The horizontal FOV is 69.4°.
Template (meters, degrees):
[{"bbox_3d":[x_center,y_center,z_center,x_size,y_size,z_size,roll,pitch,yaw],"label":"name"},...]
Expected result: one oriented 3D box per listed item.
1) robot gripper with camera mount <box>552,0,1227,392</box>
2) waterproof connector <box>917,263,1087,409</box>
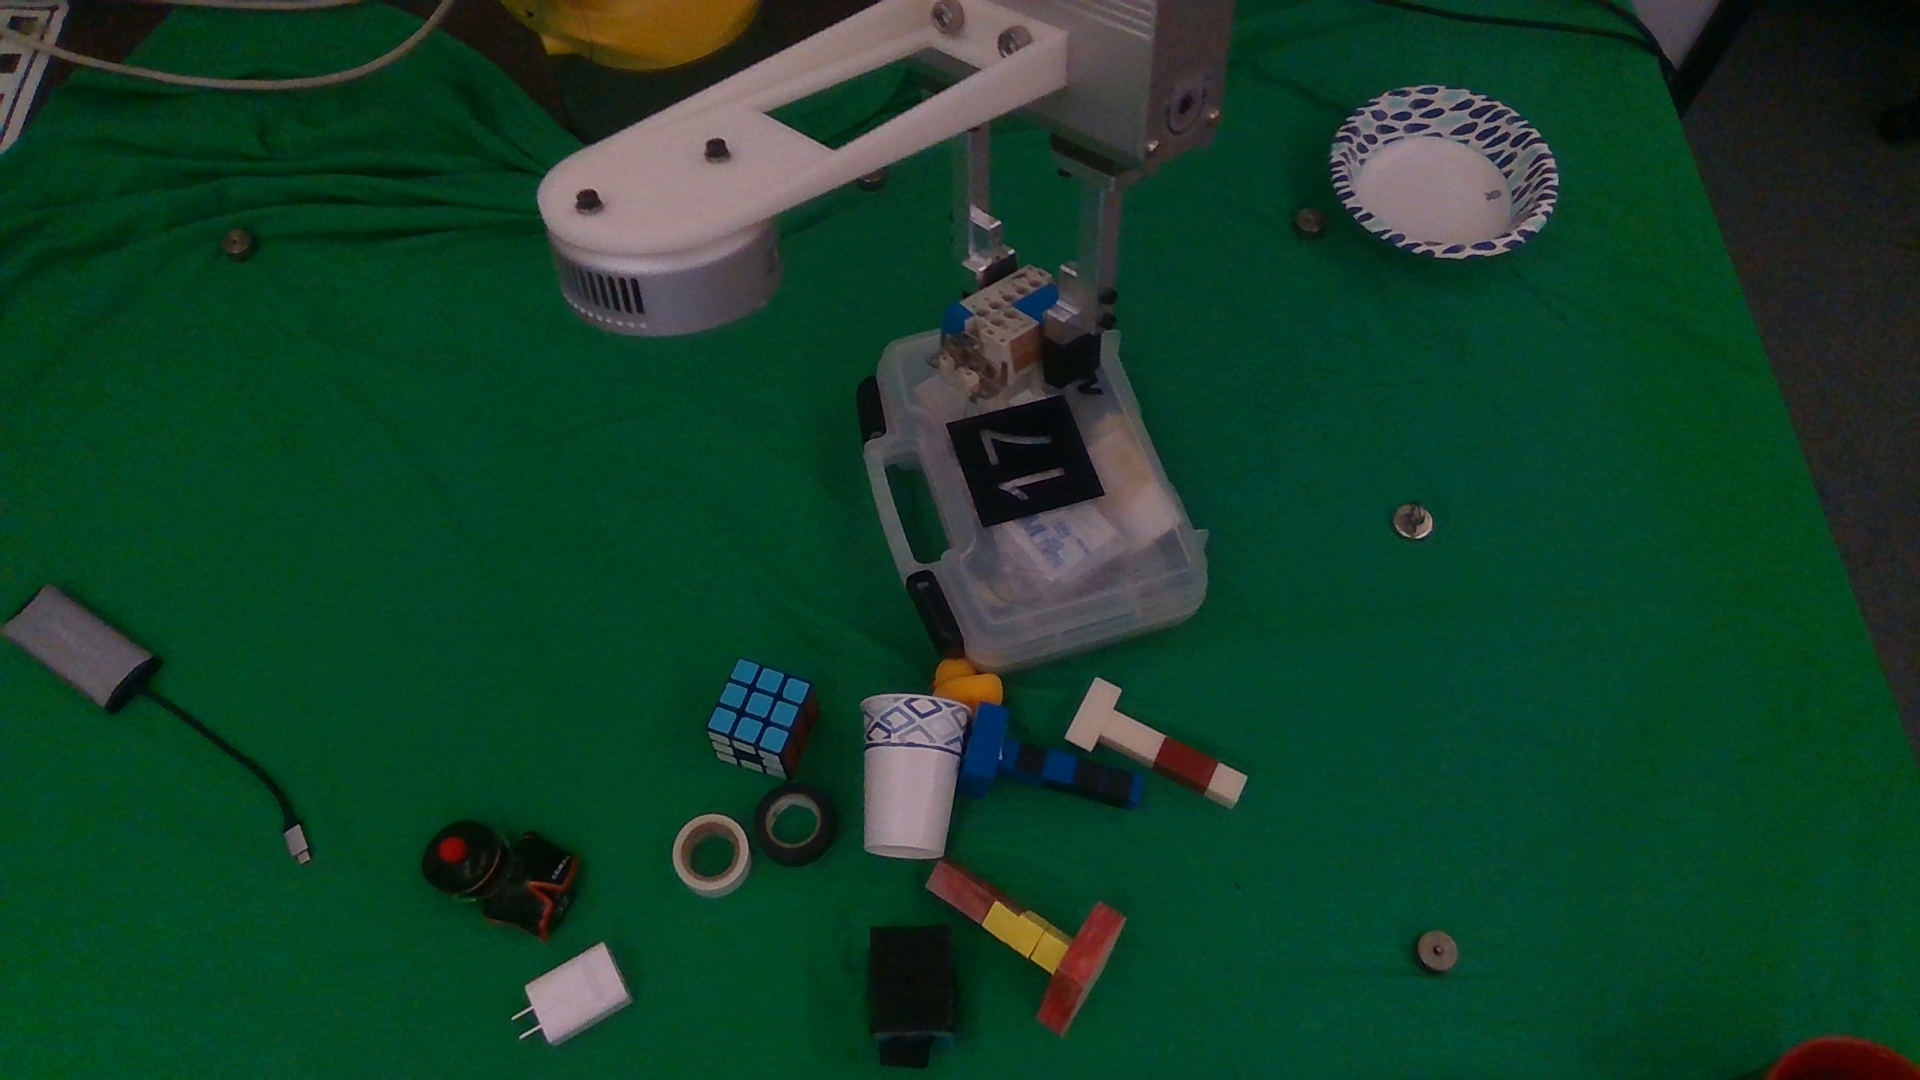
[{"bbox_3d":[-0.024,-0.087,0.424,0.119,0.158,0.193,26,49,35],"label":"robot gripper with camera mount"},{"bbox_3d":[0.019,-0.074,0.510,0.065,0.037,0.035,-29,45,-25],"label":"waterproof connector"}]
